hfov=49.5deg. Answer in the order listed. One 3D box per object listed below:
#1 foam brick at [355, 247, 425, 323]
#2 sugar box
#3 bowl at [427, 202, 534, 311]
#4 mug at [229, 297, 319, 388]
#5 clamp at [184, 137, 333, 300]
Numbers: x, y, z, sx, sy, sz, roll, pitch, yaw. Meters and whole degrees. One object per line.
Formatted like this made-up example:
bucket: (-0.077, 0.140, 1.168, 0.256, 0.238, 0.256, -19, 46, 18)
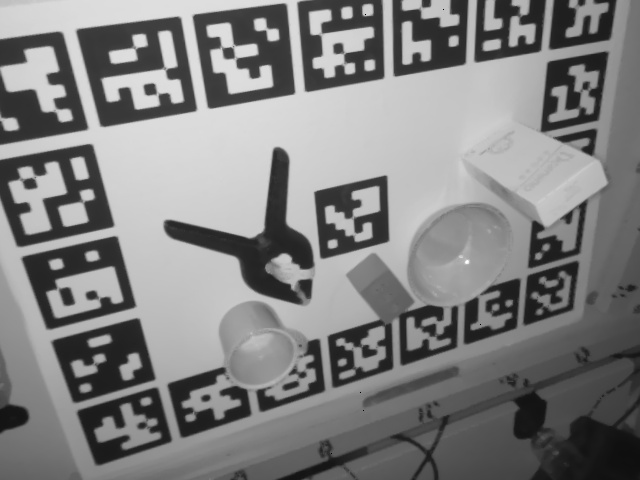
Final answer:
foam brick: (0.094, 0.059, 0.926, 0.053, 0.051, 0.078, -37, 120, -2)
sugar box: (0.283, -0.095, 0.848, 0.093, 0.176, 0.045, -33, 119, -1)
bowl: (0.205, 0.013, 0.938, 0.163, 0.055, 0.160, -8, 116, -16)
mug: (-0.058, 0.126, 0.872, 0.118, 0.081, 0.092, 14, 109, -22)
clamp: (-0.043, -0.002, 0.840, 0.166, 0.036, 0.203, -34, 120, -5)
